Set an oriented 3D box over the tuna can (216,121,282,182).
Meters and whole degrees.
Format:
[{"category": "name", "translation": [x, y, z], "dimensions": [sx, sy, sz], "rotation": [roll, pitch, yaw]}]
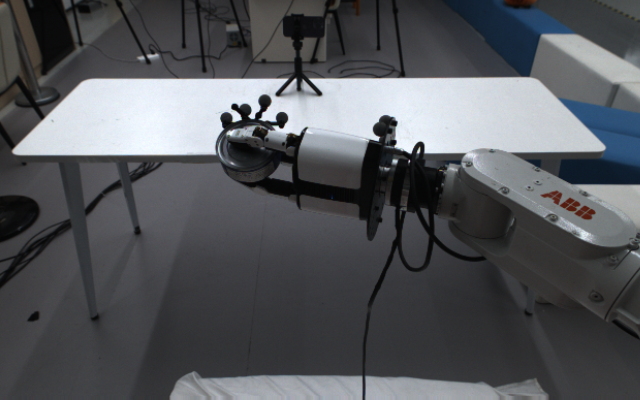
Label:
[{"category": "tuna can", "translation": [-0.093, -0.067, 0.658], "dimensions": [0.085, 0.034, 0.085], "rotation": [-2, 58, 3]}]
